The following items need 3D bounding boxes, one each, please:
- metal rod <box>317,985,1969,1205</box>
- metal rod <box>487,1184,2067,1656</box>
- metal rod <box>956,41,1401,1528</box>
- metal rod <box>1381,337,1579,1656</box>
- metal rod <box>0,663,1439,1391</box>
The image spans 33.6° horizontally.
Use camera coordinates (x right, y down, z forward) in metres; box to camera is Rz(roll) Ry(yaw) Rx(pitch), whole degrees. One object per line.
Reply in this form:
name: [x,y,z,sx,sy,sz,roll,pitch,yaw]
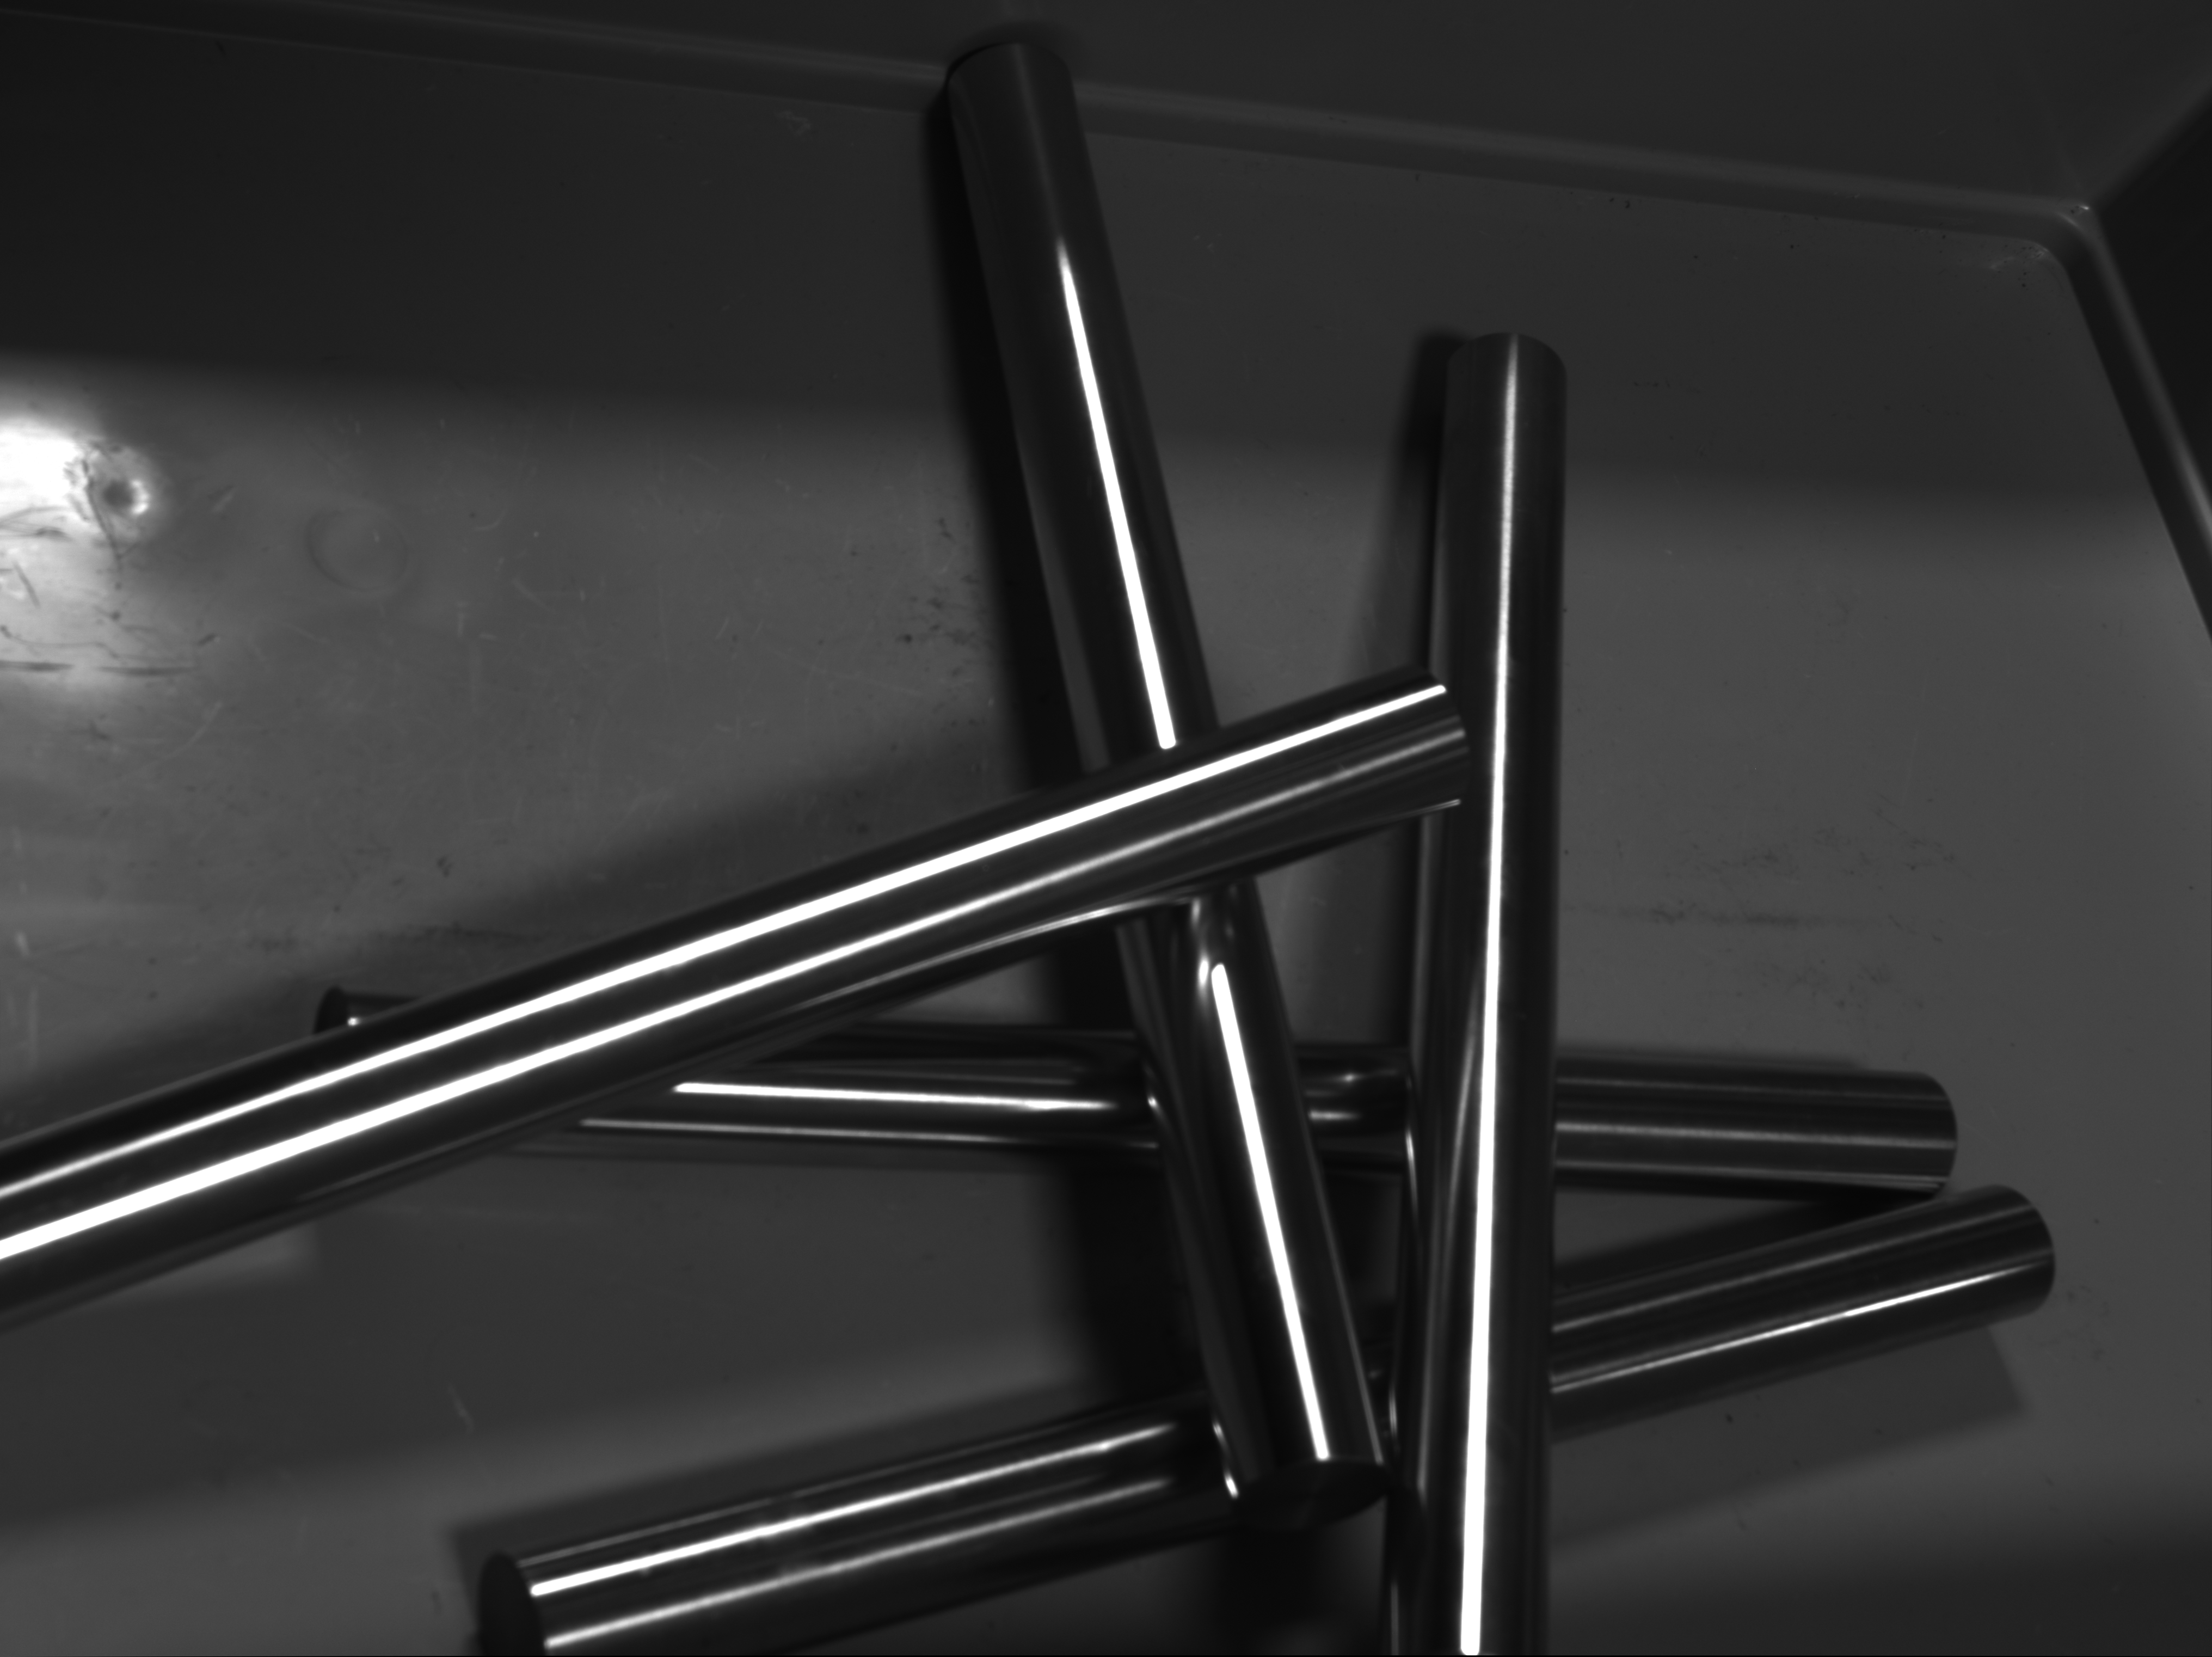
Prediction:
metal rod: [0.018,0.047,0.619,0.301,0.025,0.025,5,59,-26]
metal rod: [0.043,0.097,0.602,0.301,0.025,0.025,-9,66,-32]
metal rod: [0.008,-0.022,0.634,0.025,0.025,0.300,6,52,-25]
metal rod: [0.068,0.020,0.637,0.025,0.025,0.300,22,46,-15]
metal rod: [-0.072,0.032,0.548,0.301,0.025,0.025,-22,73,-30]
